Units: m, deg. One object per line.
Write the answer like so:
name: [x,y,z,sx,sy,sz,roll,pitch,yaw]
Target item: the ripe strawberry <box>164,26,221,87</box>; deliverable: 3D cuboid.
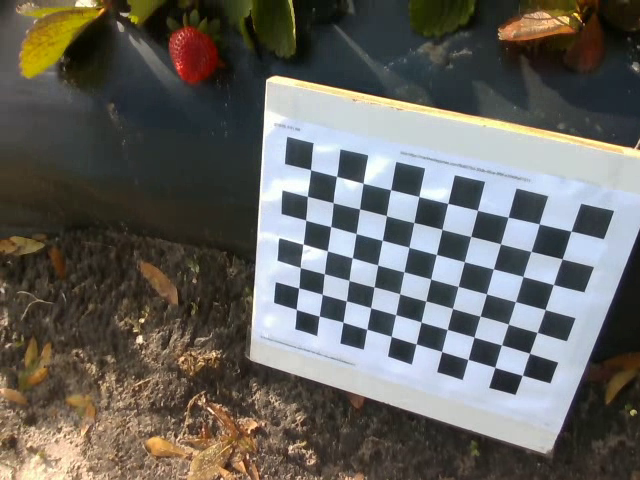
ripe strawberry: [-0.088,-0.120,0.445,0.041,0.047,0.041,-11,-36,36]
